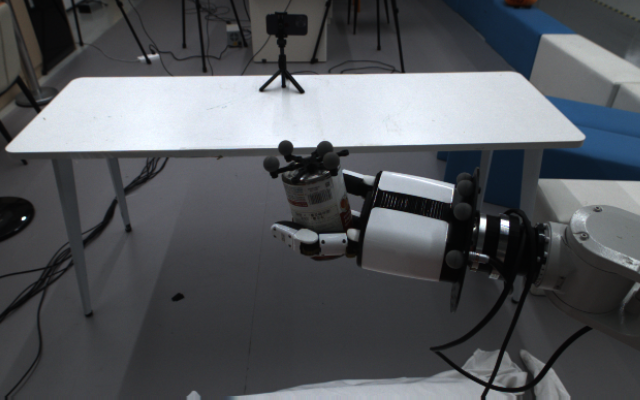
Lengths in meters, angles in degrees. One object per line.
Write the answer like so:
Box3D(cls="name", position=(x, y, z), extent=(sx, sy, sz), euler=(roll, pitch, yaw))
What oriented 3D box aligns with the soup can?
Box3D(cls="soup can", position=(0.003, 0.009, 0.546), extent=(0.067, 0.101, 0.067), euler=(-11, 28, 6))
